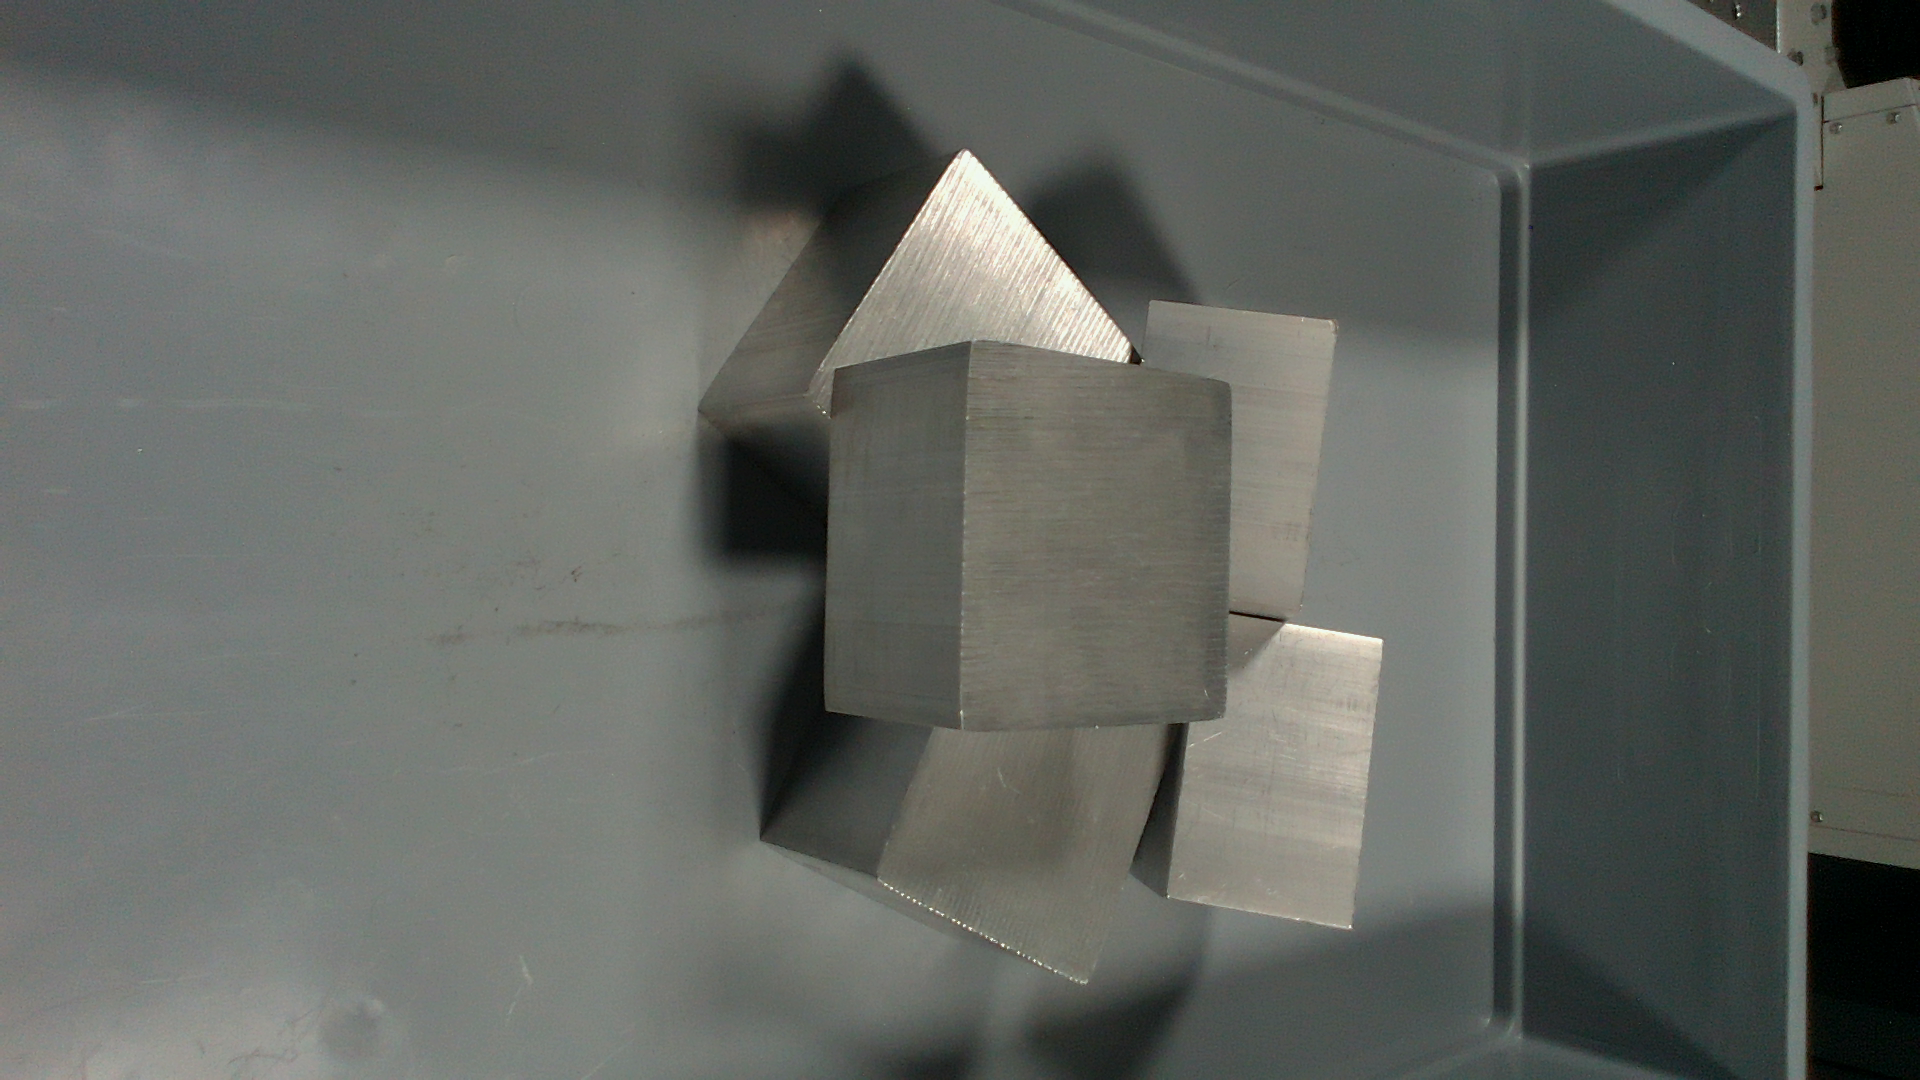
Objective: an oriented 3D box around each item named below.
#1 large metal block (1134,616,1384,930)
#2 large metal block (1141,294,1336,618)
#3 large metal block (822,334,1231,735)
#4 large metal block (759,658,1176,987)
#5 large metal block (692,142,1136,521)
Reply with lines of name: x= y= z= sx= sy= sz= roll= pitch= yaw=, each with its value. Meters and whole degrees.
large metal block: x=0.086 y=0.067 z=0.414 sx=0.050 sy=0.080 sz=0.080 roll=9 pitch=82 yaw=0
large metal block: x=0.074 y=-0.018 z=0.405 sx=0.080 sy=0.050 sz=0.080 roll=60 pitch=39 yaw=-81
large metal block: x=0.016 y=0.001 z=0.318 sx=0.080 sy=0.050 sz=0.080 roll=3 pitch=87 yaw=-39
large metal block: x=0.006 y=0.063 z=0.372 sx=0.080 sy=0.050 sz=0.080 roll=37 pitch=68 yaw=-34
large metal block: x=-0.009 y=-0.042 z=0.365 sx=0.080 sy=0.050 sz=0.080 roll=43 pitch=64 yaw=-31
